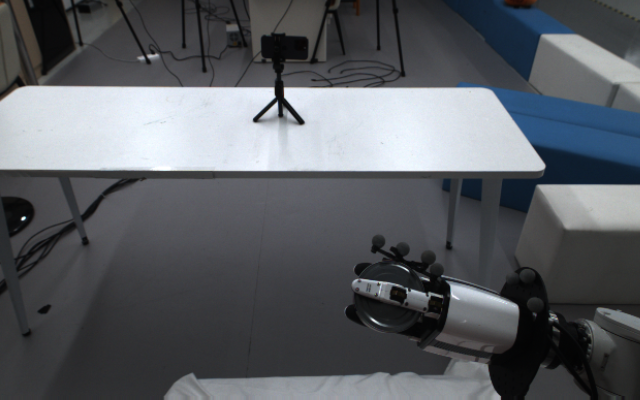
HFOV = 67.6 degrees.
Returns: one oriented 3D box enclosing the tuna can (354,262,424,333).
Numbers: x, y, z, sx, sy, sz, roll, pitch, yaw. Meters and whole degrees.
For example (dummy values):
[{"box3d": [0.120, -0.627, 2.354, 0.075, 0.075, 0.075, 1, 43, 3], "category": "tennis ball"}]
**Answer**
[{"box3d": [0.085, 0.116, 0.591, 0.085, 0.034, 0.085, 0, 71, 0], "category": "tuna can"}]
